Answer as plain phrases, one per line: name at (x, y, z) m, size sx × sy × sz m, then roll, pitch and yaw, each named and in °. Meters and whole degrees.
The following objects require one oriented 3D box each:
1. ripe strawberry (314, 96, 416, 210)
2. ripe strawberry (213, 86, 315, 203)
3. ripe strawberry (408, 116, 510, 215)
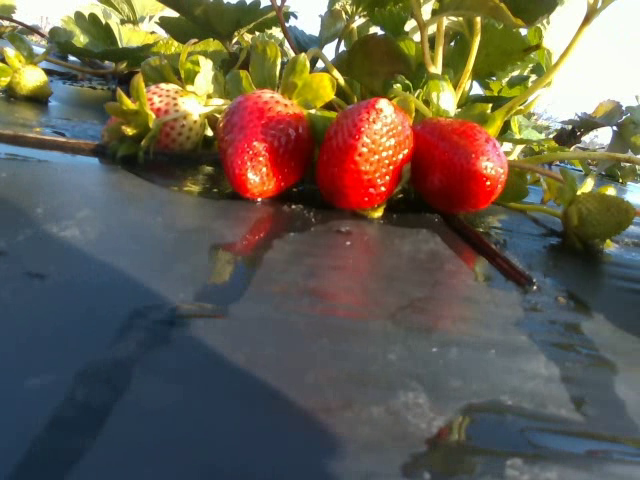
ripe strawberry at (0.012, -0.028, 0.164) m, size 0.030 × 0.037 × 0.039 m, roll 18°, pitch -12°, yaw 6°
ripe strawberry at (-0.017, -0.028, 0.169) m, size 0.031 × 0.023 × 0.046 m, roll 10°, pitch 38°, yaw -1°
ripe strawberry at (0.040, -0.020, 0.168) m, size 0.035 × 0.034 × 0.041 m, roll 7°, pitch 2°, yaw -3°
